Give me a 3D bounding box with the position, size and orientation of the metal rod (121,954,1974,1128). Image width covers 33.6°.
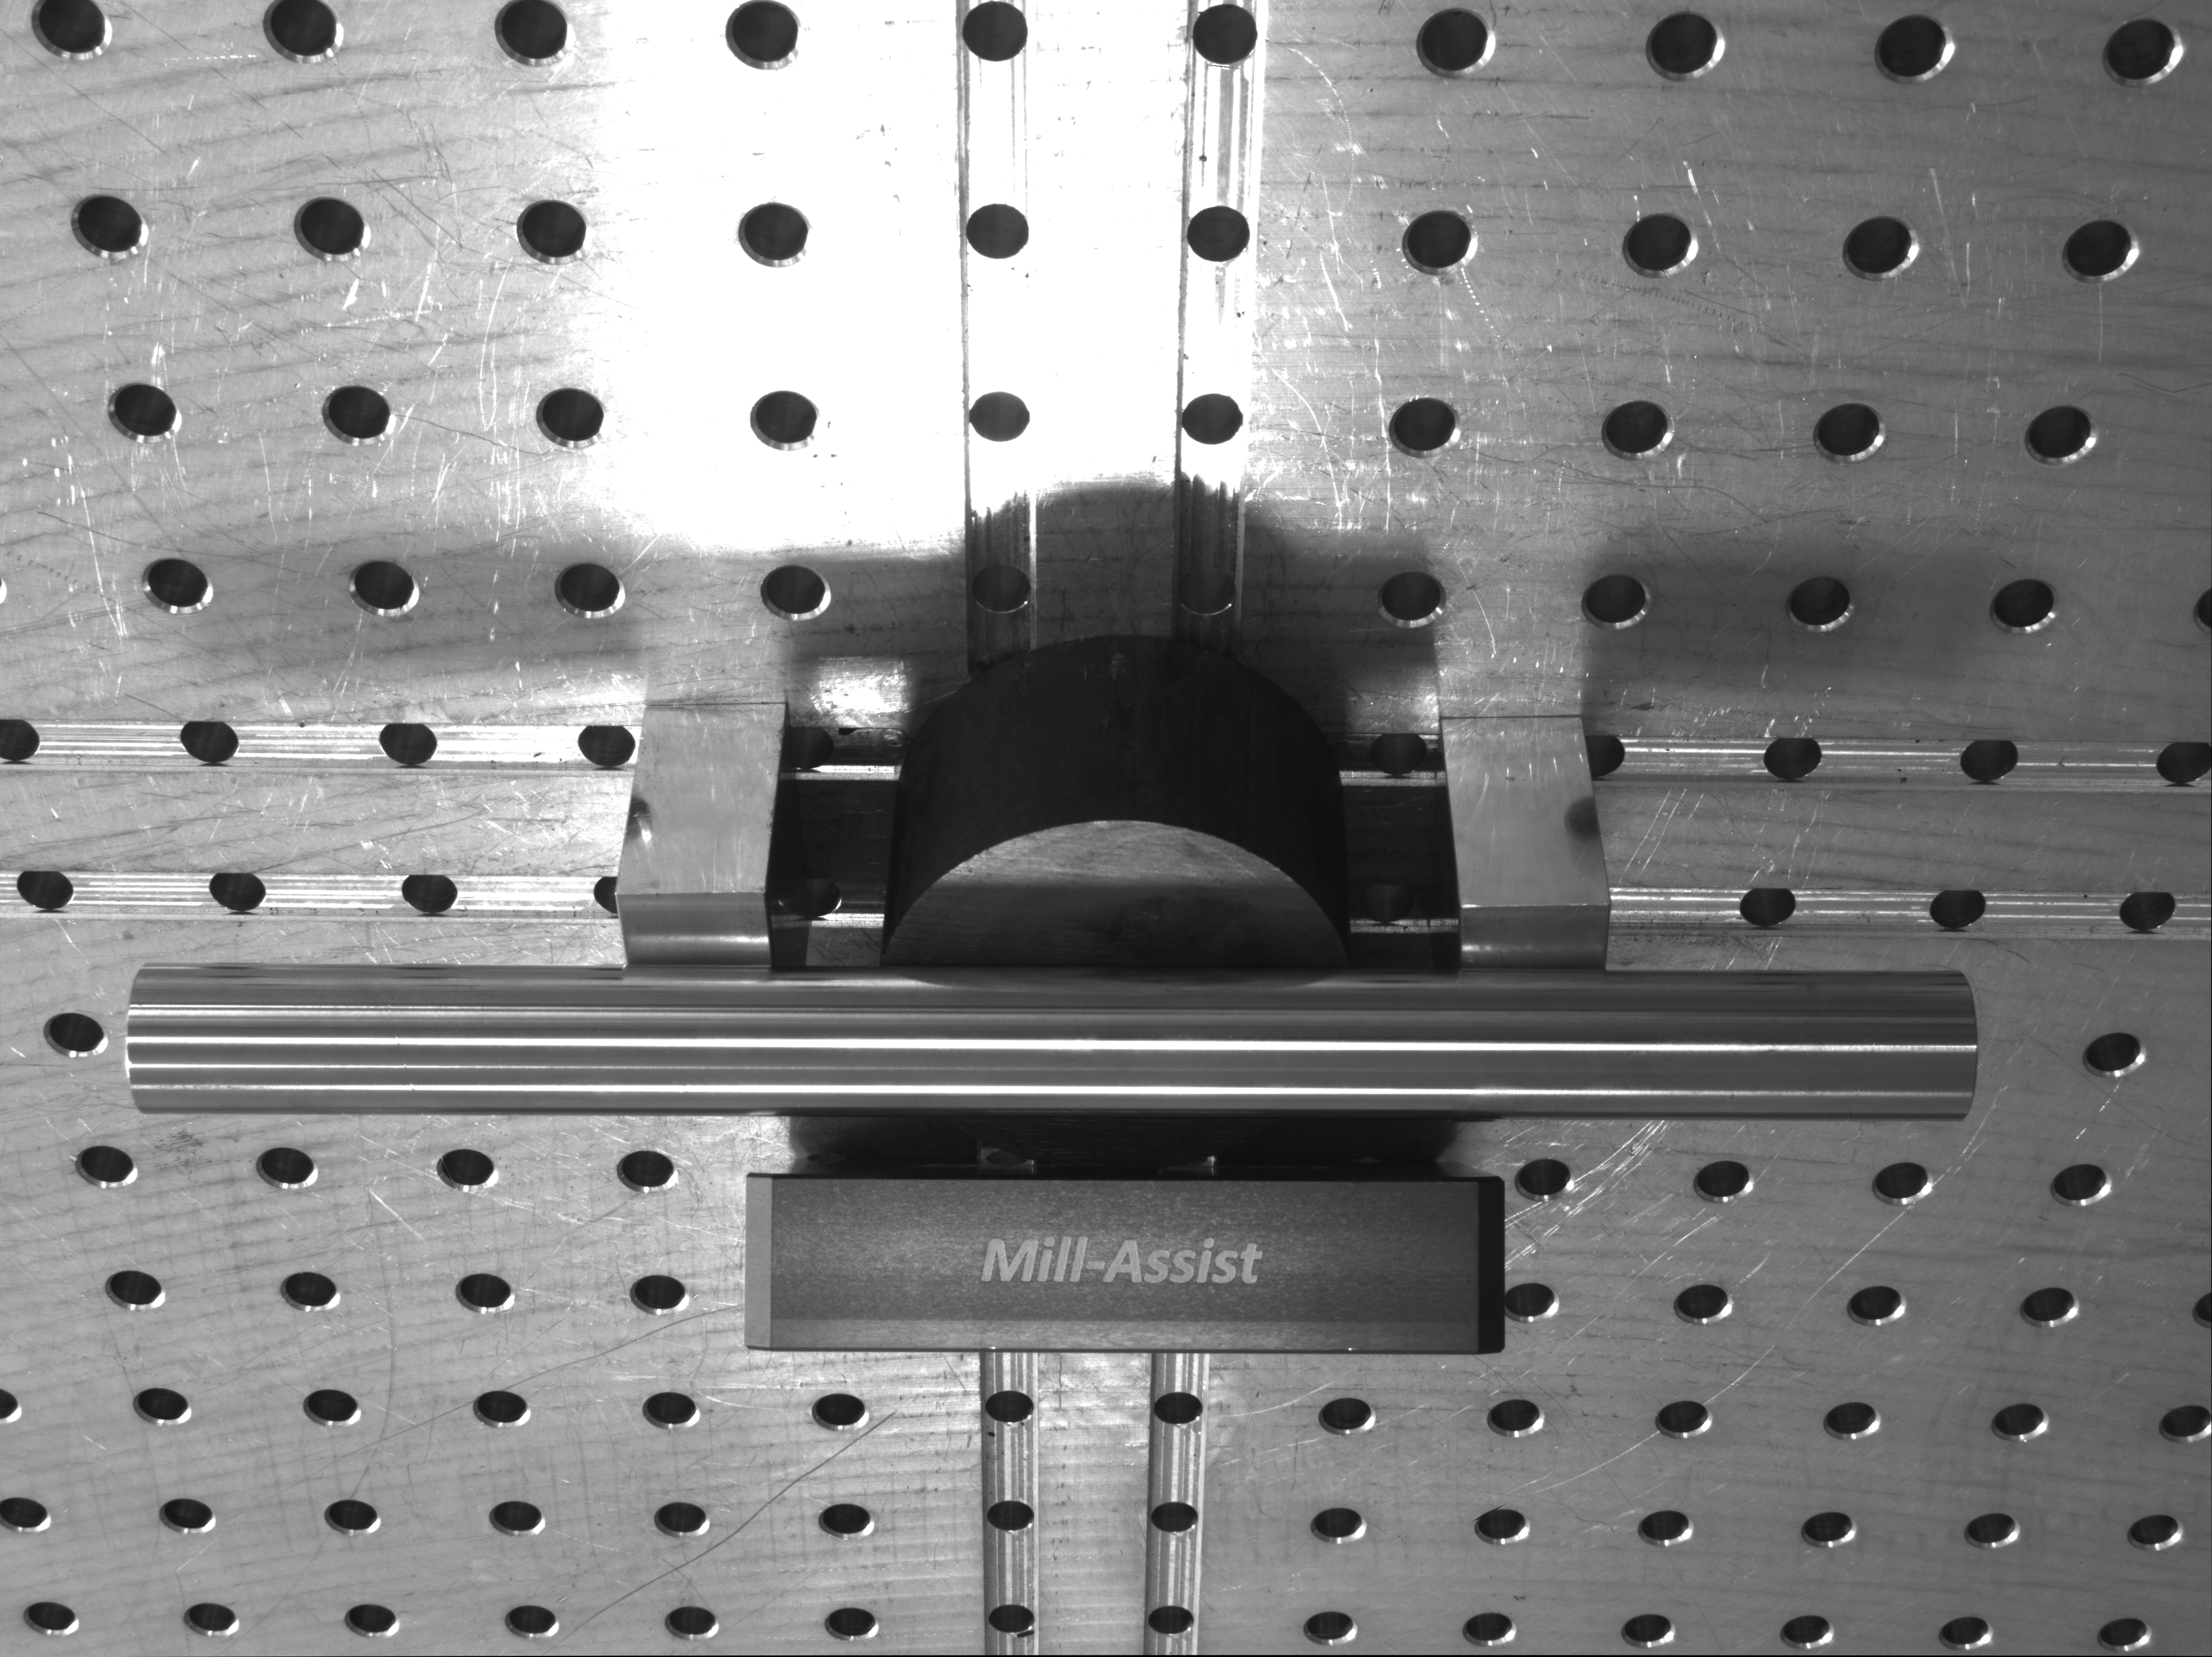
[{"bbox_3d":[-0.009,0.035,0.606,0.300,0.025,0.025,1,130,0],"label":"metal rod"}]

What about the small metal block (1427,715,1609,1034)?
[{"bbox_3d":[0.071,0.016,0.639,0.025,0.050,0.050,-1,130,1],"label":"small metal block"}]

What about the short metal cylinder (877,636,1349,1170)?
[{"bbox_3d":[0.001,0.014,0.637,0.080,0.050,0.080,0,130,0],"label":"short metal cylinder"}]

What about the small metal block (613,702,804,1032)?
[{"bbox_3d":[-0.068,0.013,0.637,0.025,0.050,0.050,-1,130,1],"label":"small metal block"}]

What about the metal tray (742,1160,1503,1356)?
[{"bbox_3d":[0.003,0.077,0.667,0.130,0.090,0.030,0,87,0],"label":"metal tray"}]
